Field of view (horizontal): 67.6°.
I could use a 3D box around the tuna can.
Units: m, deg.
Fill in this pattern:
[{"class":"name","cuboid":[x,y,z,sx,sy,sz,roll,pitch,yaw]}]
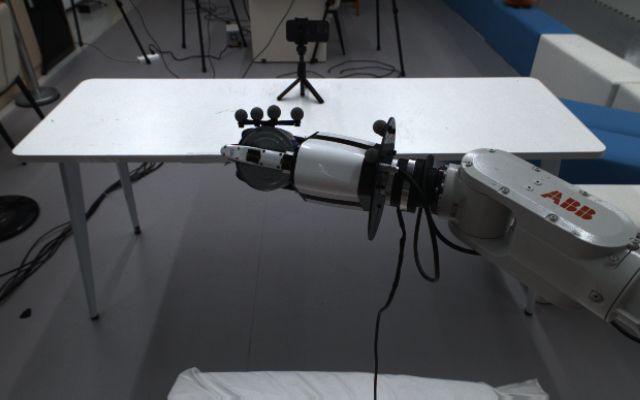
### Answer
[{"class":"tuna can","cuboid":[-0.067,-0.056,0.652,0.085,0.085,0.034,12,8,14]}]
